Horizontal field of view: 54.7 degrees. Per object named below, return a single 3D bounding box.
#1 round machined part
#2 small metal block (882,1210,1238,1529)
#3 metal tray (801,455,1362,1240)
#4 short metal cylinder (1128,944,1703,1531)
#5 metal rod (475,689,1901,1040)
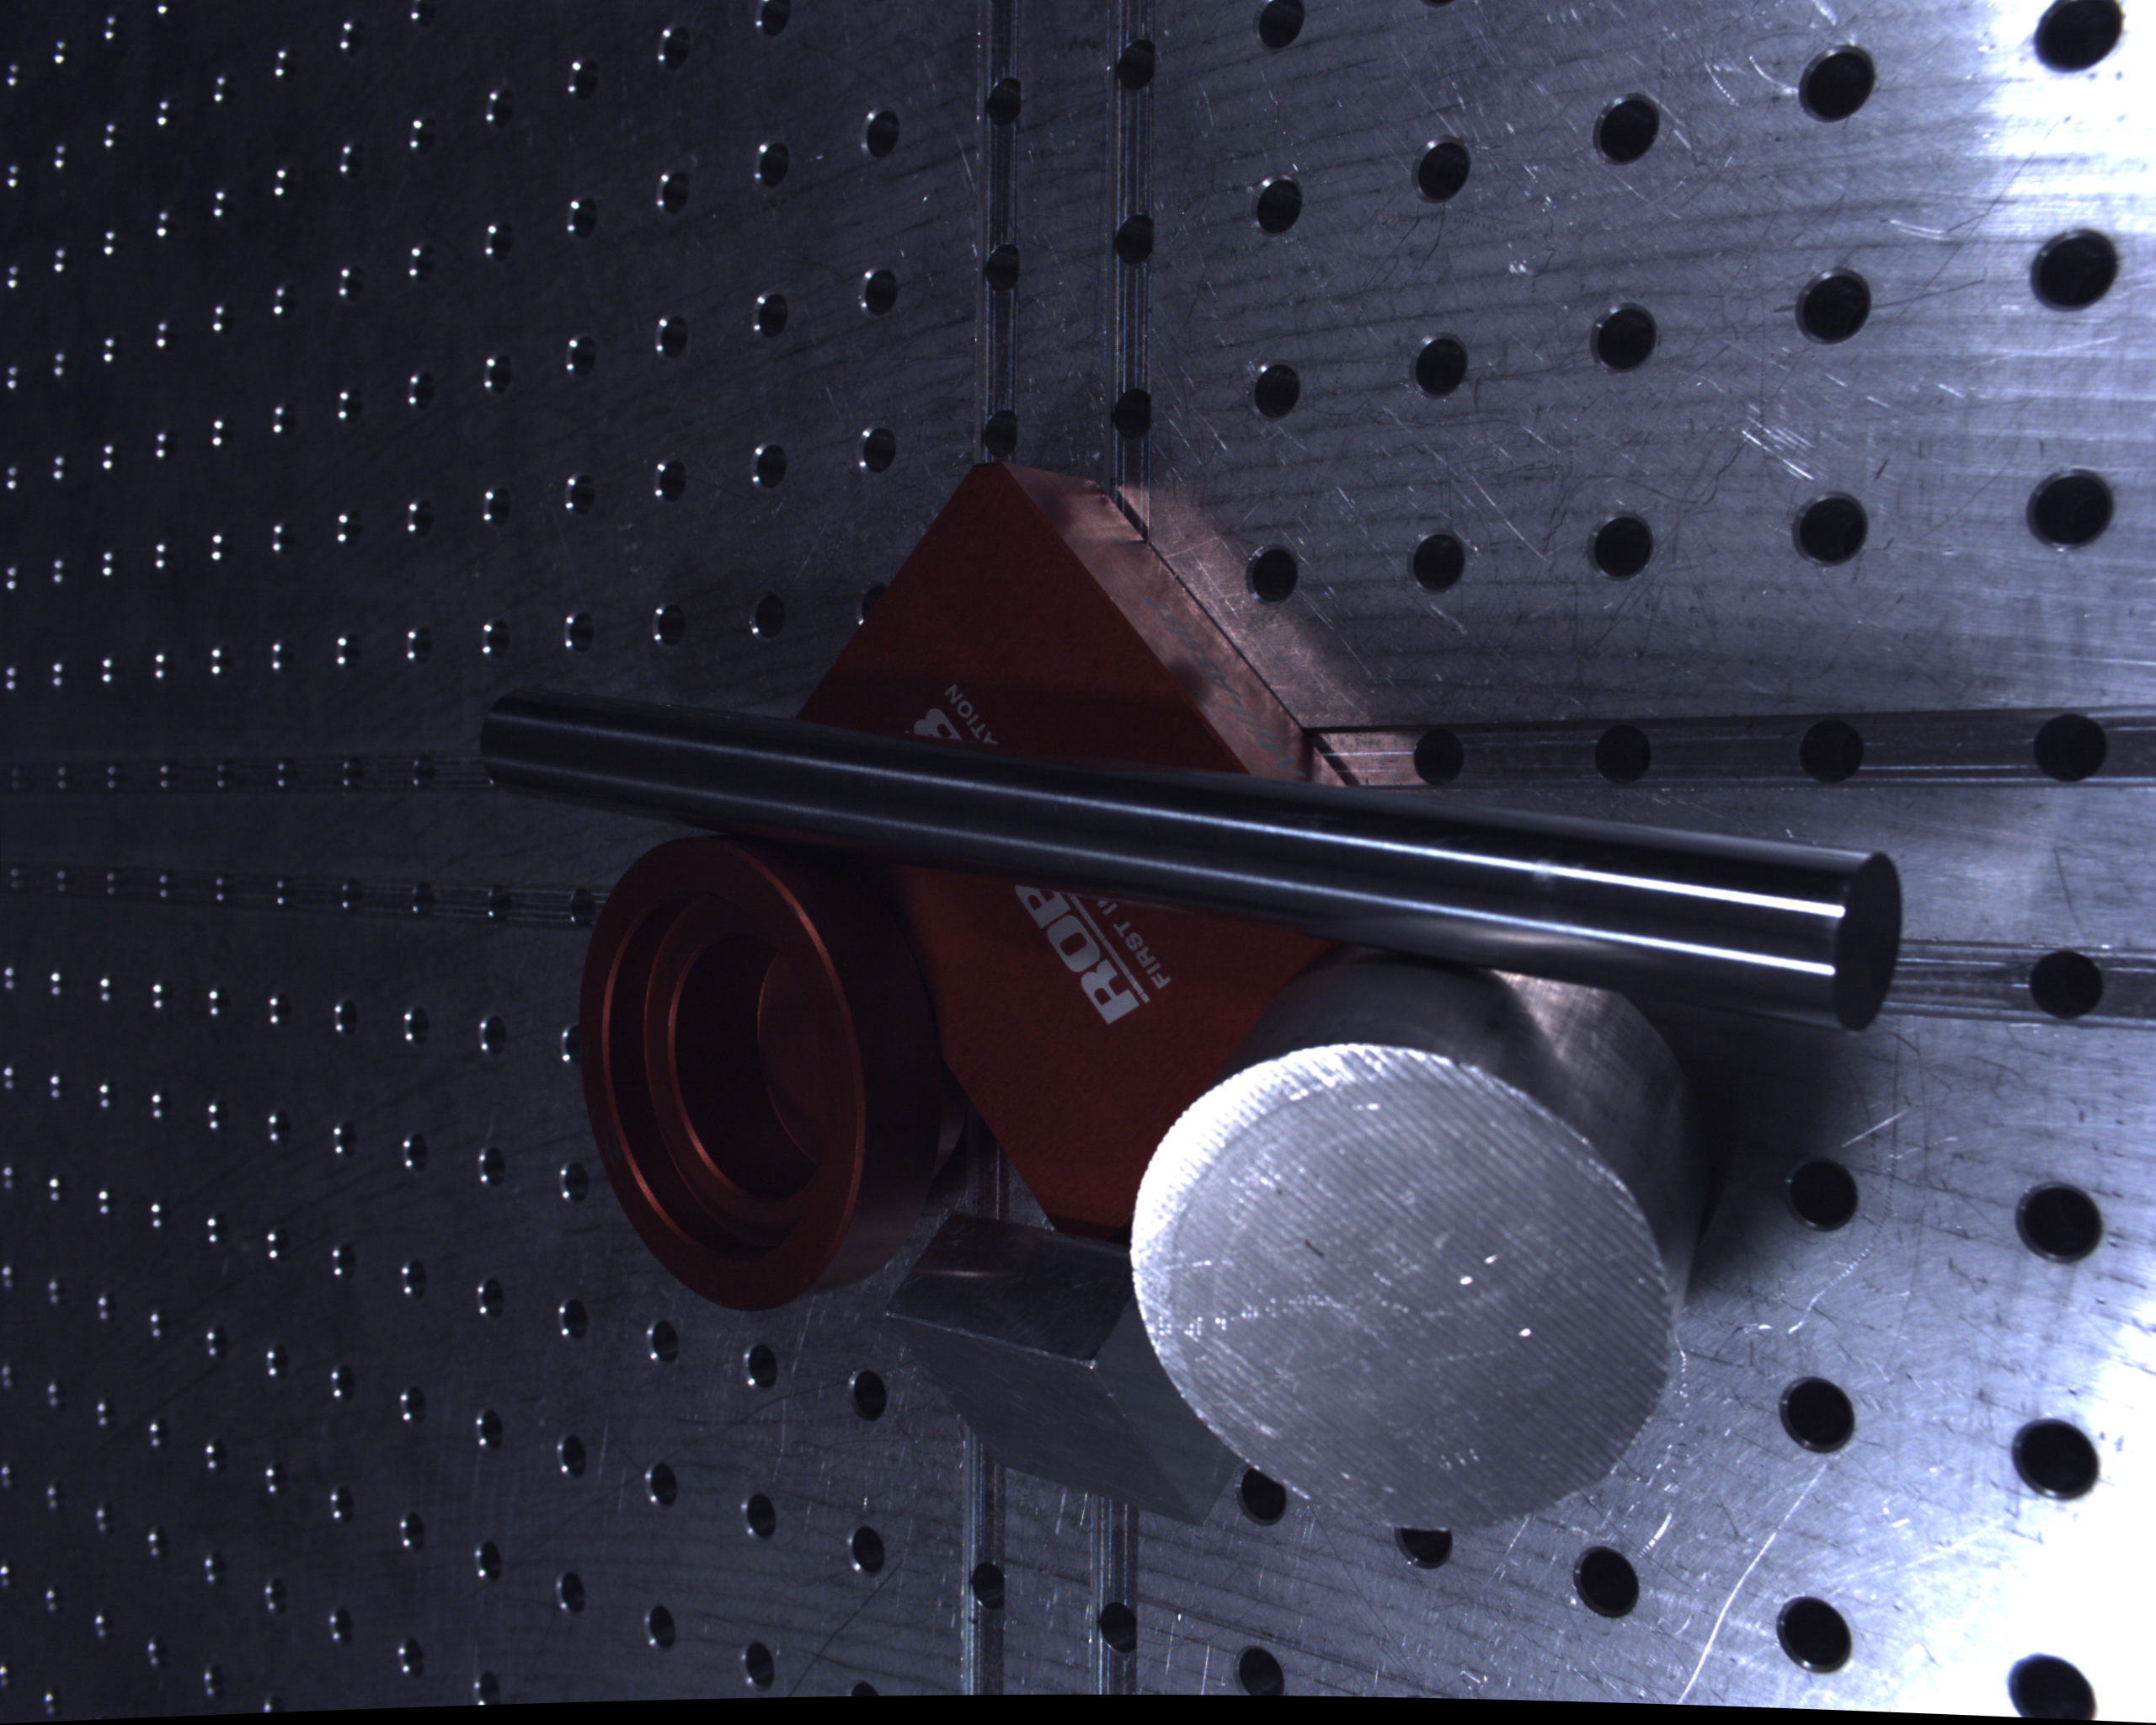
[{"bbox_3d":[-0.062,0.041,0.440,0.098,0.042,0.097,8,102,44],"label":"round machined part"},{"bbox_3d":[0.000,0.094,0.390,0.050,0.025,0.050,3,136,39],"label":"small metal block"},{"bbox_3d":[0.002,-0.004,0.404,0.090,0.030,0.130,-51,61,27],"label":"metal tray"},{"bbox_3d":[0.054,0.056,0.327,0.080,0.050,0.079,7,111,19],"label":"short metal cylinder"},{"bbox_3d":[-0.009,-0.007,0.374,0.300,0.025,0.025,9,96,39],"label":"metal rod"}]
